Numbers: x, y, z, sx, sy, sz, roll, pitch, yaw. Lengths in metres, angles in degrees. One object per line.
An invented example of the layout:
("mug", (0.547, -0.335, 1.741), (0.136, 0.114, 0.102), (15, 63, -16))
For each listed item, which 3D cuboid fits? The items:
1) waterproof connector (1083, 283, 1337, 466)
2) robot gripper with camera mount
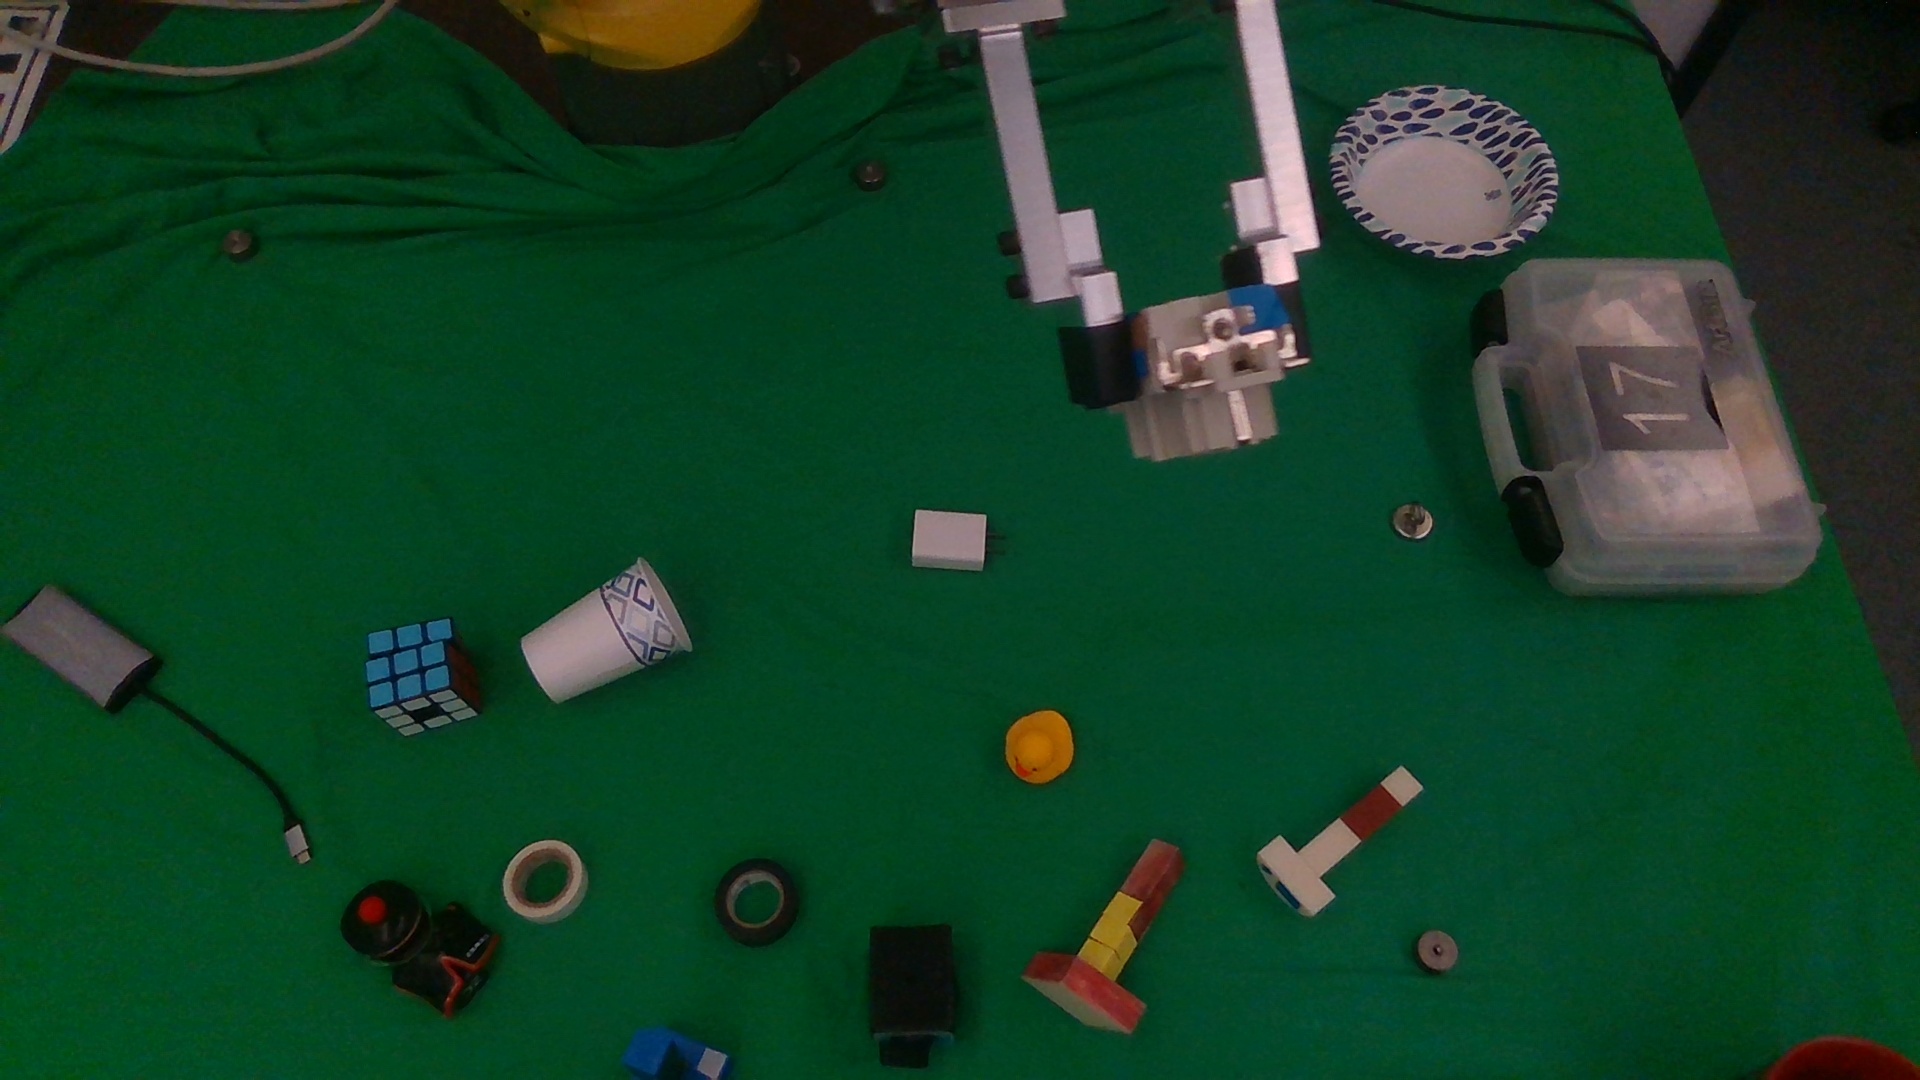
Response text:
("waterproof connector", (0.055, -0.037, 0.322), (0.035, 0.065, 0.037), (-10, 93, -19))
("robot gripper with camera mount", (0.068, -0.111, 0.239), (0.119, 0.194, 0.158), (-12, 93, -15))
